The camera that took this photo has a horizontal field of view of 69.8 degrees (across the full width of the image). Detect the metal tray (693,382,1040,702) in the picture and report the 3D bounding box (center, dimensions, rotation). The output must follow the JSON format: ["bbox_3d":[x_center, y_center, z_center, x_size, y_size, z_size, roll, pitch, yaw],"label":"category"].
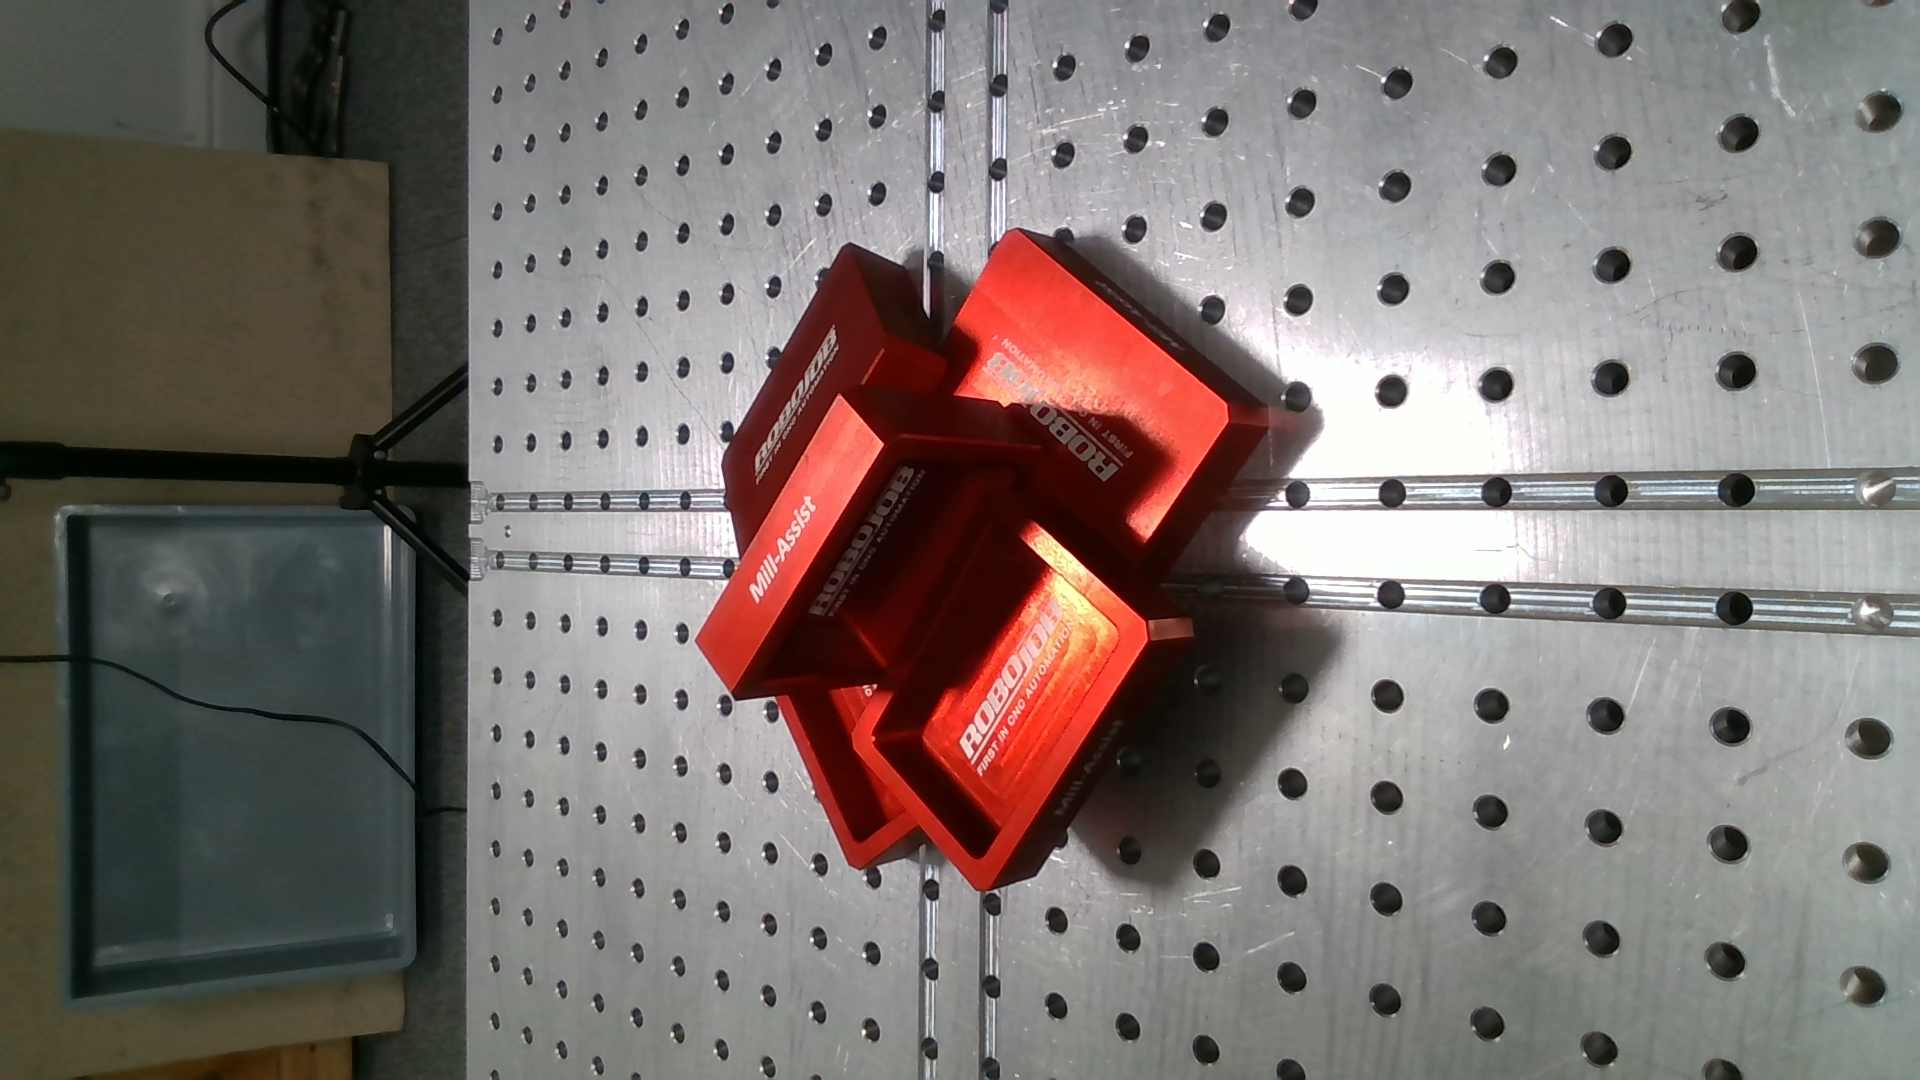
[{"bbox_3d":[-0.036,0.003,0.532,0.030,0.090,0.130,49,119,29],"label":"metal tray"}]

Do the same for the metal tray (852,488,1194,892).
[{"bbox_3d":[0.020,0.057,0.526,0.090,0.030,0.130,44,117,31],"label":"metal tray"}]

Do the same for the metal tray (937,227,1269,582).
[{"bbox_3d":[0.046,-0.051,0.541,0.130,0.030,0.090,46,118,30],"label":"metal tray"}]

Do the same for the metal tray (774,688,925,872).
[{"bbox_3d":[-0.039,0.069,0.614,0.090,0.030,0.130,-41,65,33],"label":"metal tray"}]

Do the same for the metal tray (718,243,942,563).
[{"bbox_3d":[-0.062,-0.054,0.609,0.130,0.030,0.090,-55,33,26],"label":"metal tray"}]
